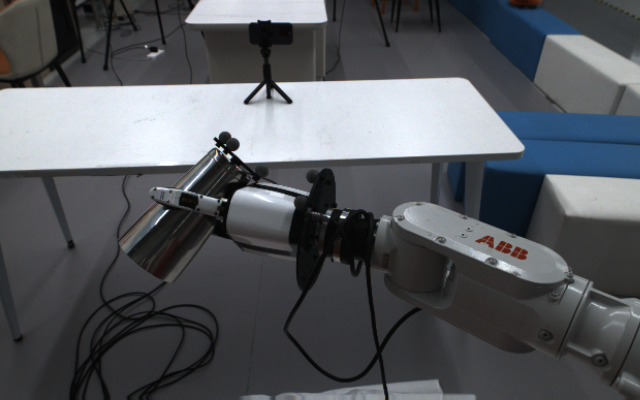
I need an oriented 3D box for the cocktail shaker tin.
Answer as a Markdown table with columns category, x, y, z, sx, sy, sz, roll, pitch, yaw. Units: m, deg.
| category | x | y | z | sx | sy | sz | roll | pitch | yaw |
| --- | --- | --- | --- | --- | --- | --- | --- | --- | --- |
| cocktail shaker tin | -0.171 | 0.012 | 0.644 | 0.170 | 0.093 | 0.093 | -48 | 49 | -3 |
